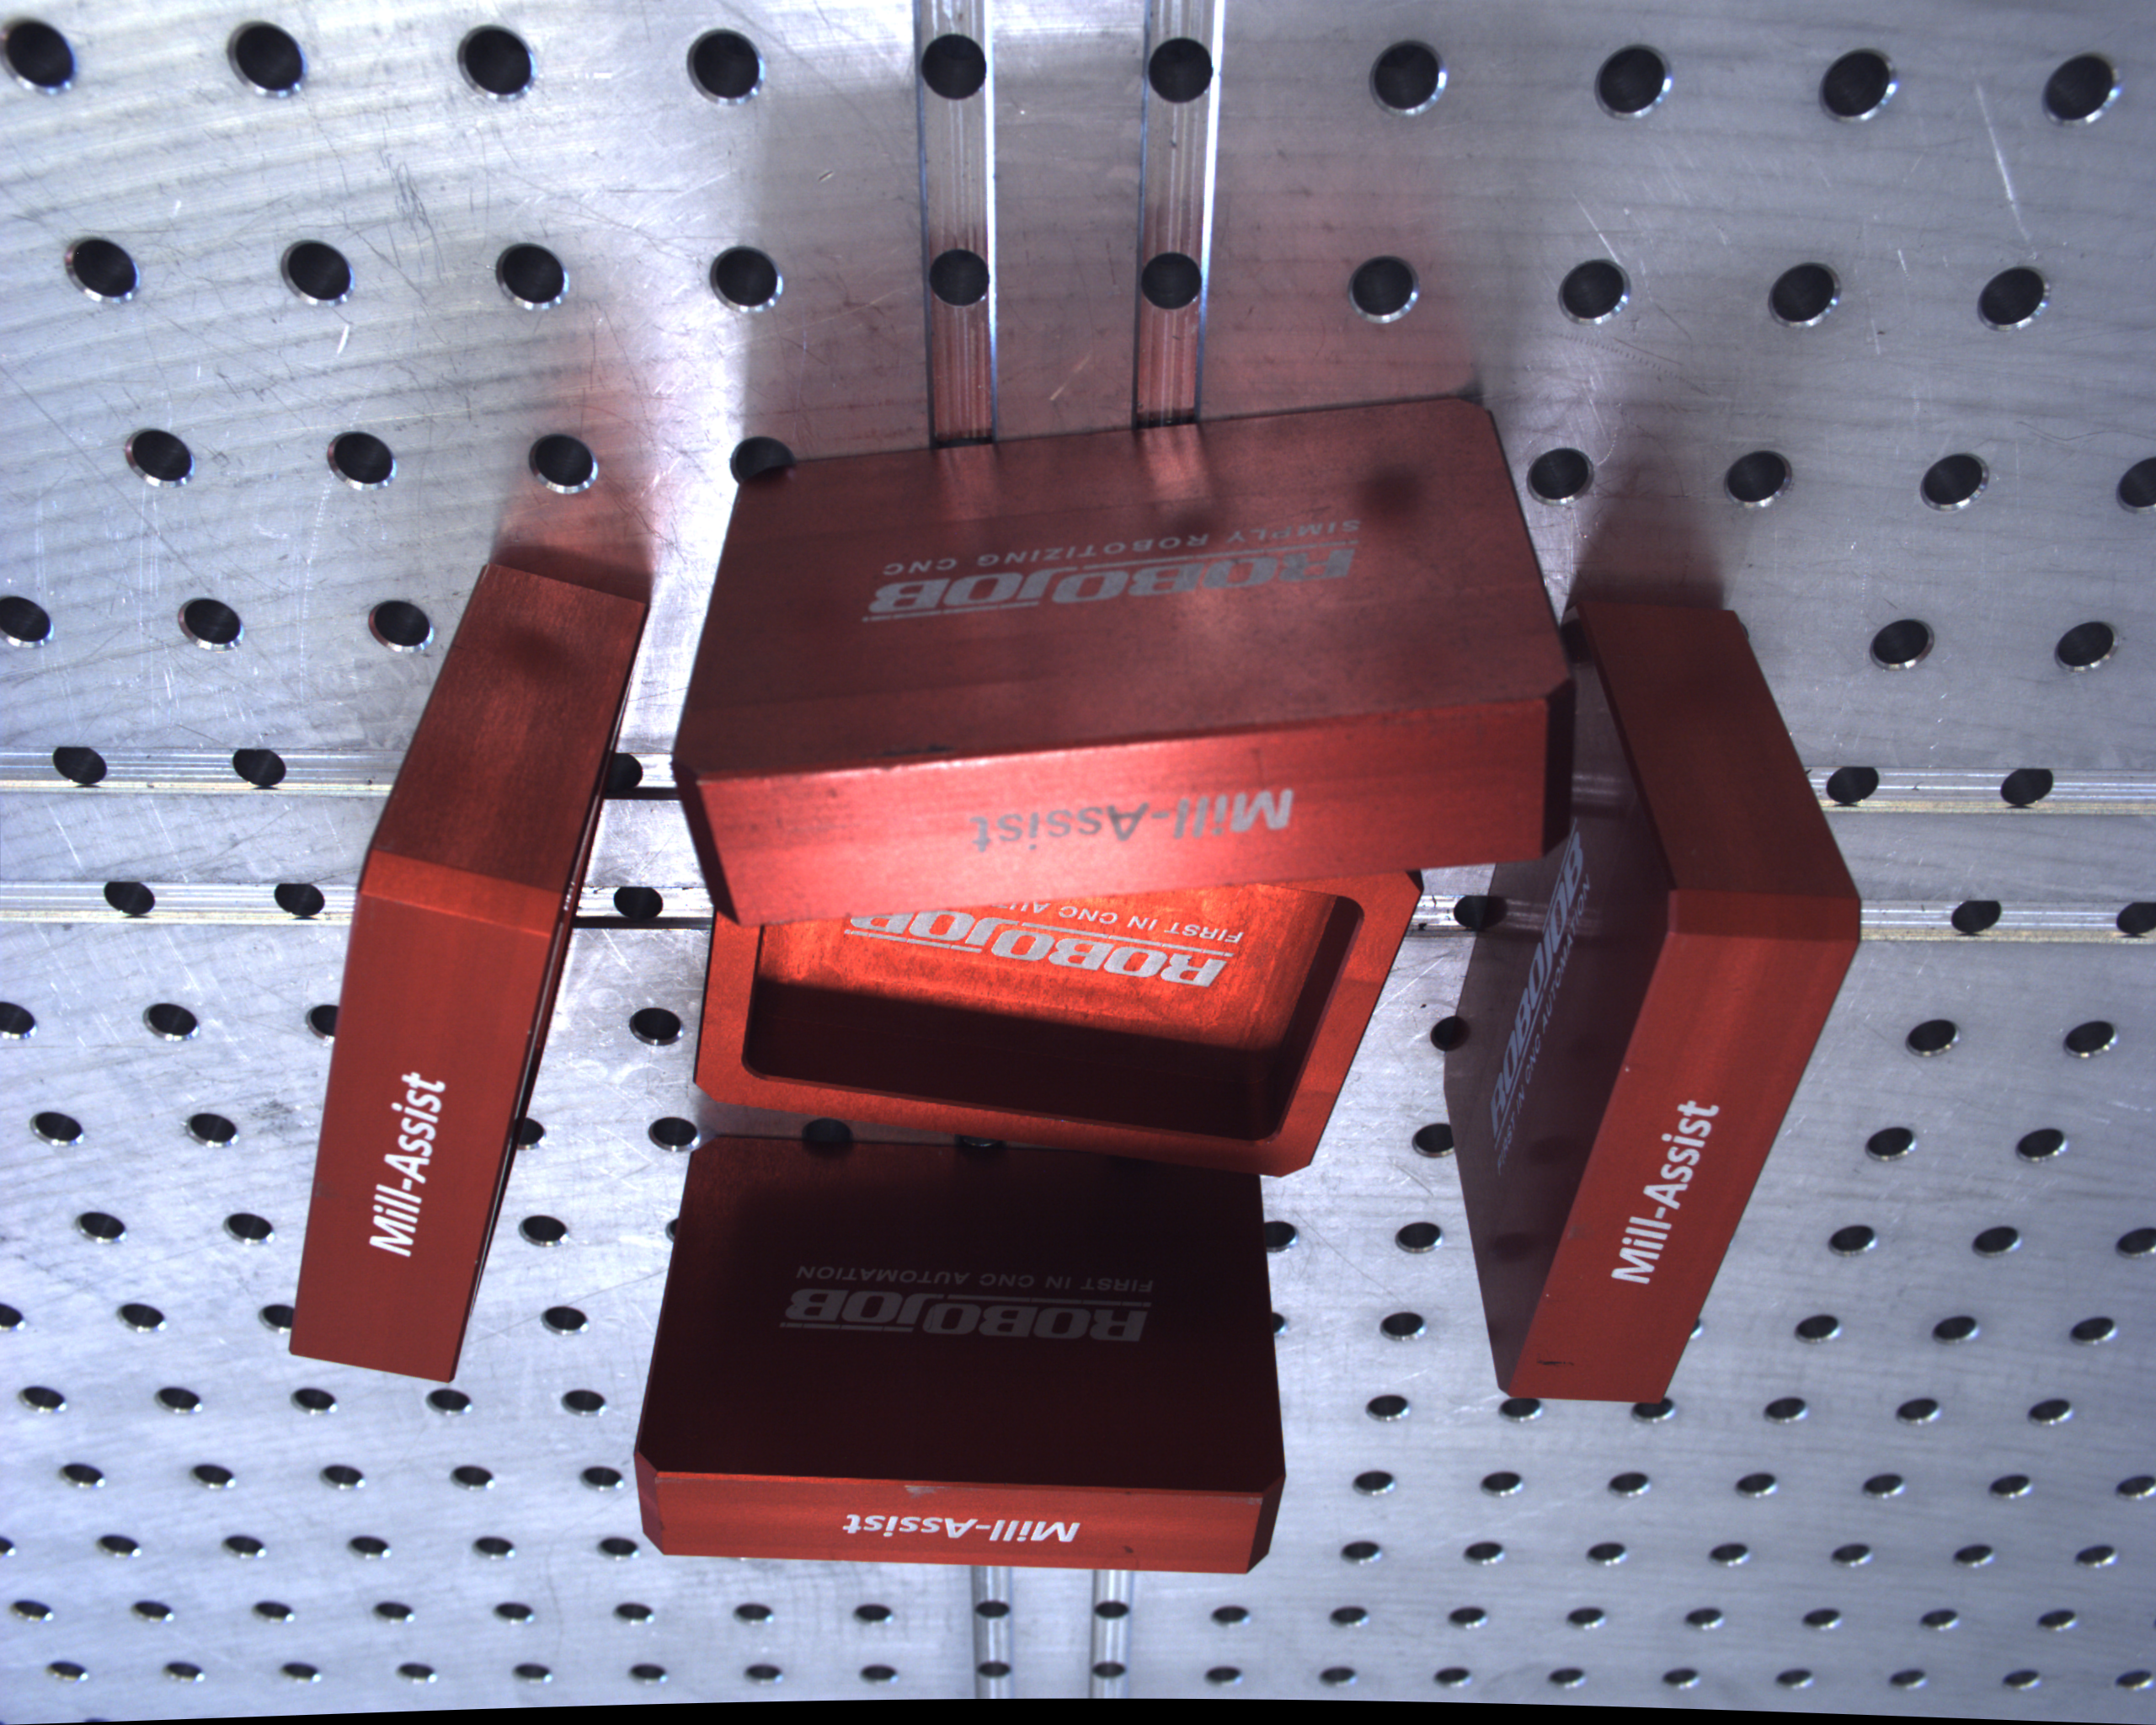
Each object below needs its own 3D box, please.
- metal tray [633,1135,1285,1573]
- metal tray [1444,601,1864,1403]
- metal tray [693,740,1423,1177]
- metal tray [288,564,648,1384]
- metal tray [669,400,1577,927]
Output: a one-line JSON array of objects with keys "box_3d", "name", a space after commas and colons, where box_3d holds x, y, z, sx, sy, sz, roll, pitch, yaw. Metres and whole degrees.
[{"box_3d": [-0.024, 0.106, 0.459, 0.131, 0.090, 0.030, 3, 130, -2], "name": "metal tray"}, {"box_3d": [0.101, 0.028, 0.393, 0.030, 0.090, 0.129, 3, 130, -3], "name": "metal tray"}, {"box_3d": [-0.007, 0.016, 0.421, 0.131, 0.030, 0.089, 8, 130, -8], "name": "metal tray"}, {"box_3d": [-0.113, 0.022, 0.387, 0.030, 0.090, 0.129, 14, 129, -11], "name": "metal tray"}, {"box_3d": [0.007, -0.035, 0.338, 0.131, 0.090, 0.030, -5, 130, 4], "name": "metal tray"}]
